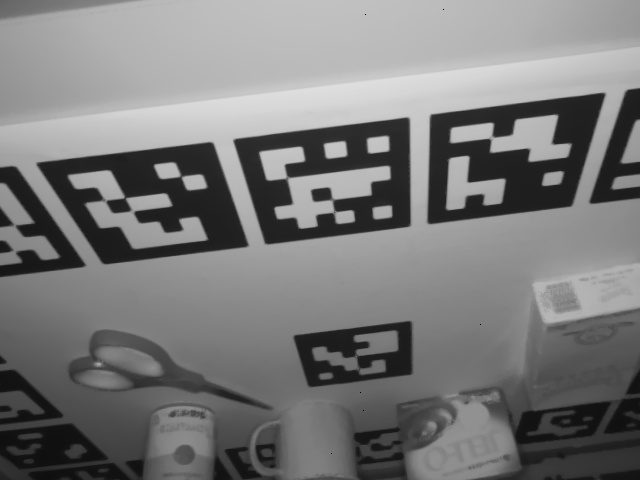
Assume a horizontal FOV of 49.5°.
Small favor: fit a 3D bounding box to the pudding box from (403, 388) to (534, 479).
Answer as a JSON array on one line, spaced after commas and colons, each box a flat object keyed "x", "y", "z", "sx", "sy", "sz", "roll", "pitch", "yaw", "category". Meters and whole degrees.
[{"x": 0.143, "y": 0.202, "z": 0.678, "sx": 0.113, "sy": 0.090, "sz": 0.038, "roll": -14, "pitch": 129, "yaw": 10, "category": "pudding box"}]

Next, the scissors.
[{"x": -0.118, "y": 0.116, "z": 0.616, "sx": 0.204, "sy": 0.016, "sz": 0.086, "roll": 29, "pitch": 117, "yaw": -30, "category": "scissors"}]

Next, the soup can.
[{"x": -0.125, "y": 0.208, "z": 0.662, "sx": 0.068, "sy": 0.103, "sz": 0.067, "roll": -4, "pitch": 137, "yaw": -3, "category": "soup can"}]

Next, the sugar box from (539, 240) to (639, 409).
[{"x": 0.243, "y": 0.079, "z": 0.603, "sx": 0.093, "sy": 0.045, "sz": 0.175, "roll": -12, "pitch": 135, "yaw": 4, "category": "sugar box"}]

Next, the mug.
[{"x": -0.005, "y": 0.217, "z": 0.689, "sx": 0.092, "sy": 0.082, "sz": 0.118, "roll": -37, "pitch": 129, "yaw": 26, "category": "mug"}]
